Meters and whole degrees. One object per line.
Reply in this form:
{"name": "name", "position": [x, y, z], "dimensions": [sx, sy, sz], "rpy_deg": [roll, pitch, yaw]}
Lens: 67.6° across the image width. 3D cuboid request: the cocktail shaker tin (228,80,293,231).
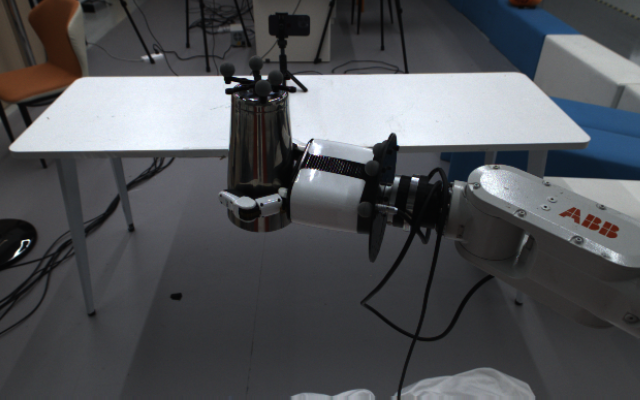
{"name": "cocktail shaker tin", "position": [-0.072, -0.055, 0.602], "dimensions": [0.093, 0.170, 0.093], "rpy_deg": [2, 35, -2]}
